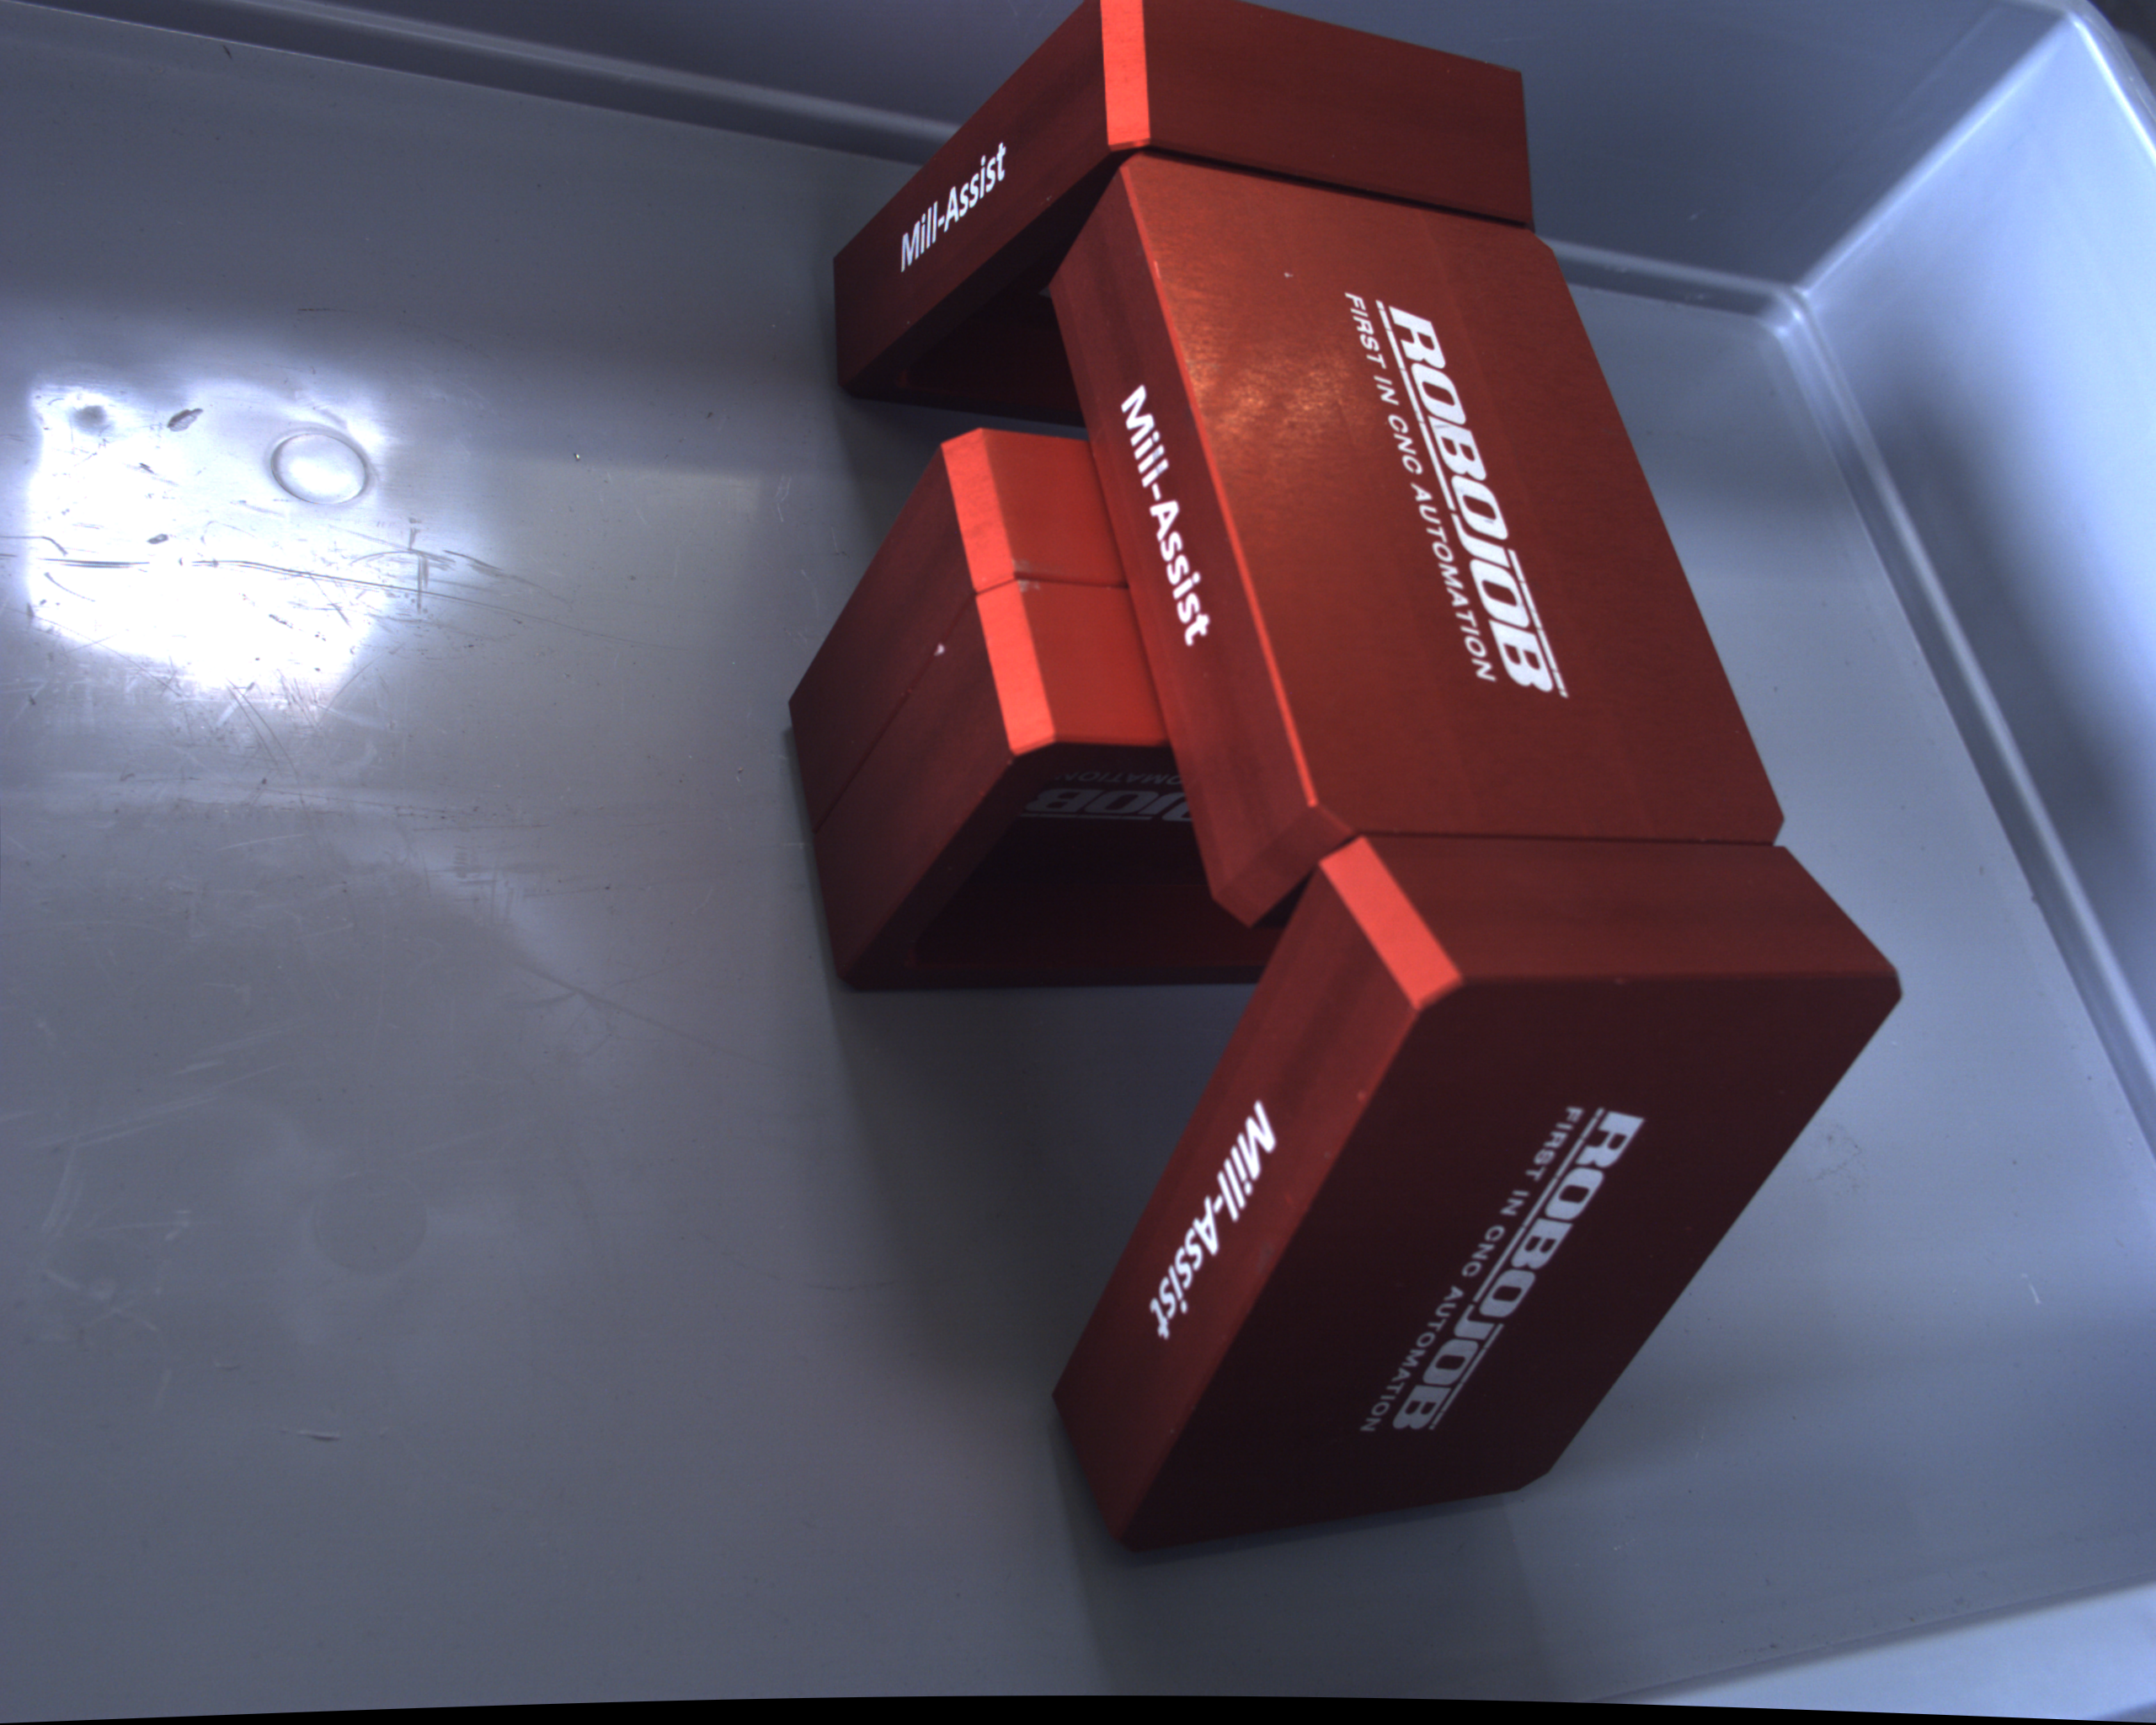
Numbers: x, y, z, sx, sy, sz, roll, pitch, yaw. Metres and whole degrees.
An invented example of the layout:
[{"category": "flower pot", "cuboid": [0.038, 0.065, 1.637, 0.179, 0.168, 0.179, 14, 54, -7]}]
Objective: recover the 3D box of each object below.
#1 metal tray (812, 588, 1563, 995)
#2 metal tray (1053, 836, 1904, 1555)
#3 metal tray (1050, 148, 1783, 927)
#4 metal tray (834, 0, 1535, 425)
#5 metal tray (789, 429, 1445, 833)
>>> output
[{"category": "metal tray", "cuboid": [0.028, -0.009, 0.383, 0.131, 0.090, 0.030, 1, 62, -28]}, {"category": "metal tray", "cuboid": [0.060, 0.055, 0.333, 0.091, 0.129, 0.030, 1, 40, -29]}, {"category": "metal tray", "cuboid": [0.054, -0.053, 0.346, 0.091, 0.030, 0.130, 1, 61, -28]}, {"category": "metal tray", "cuboid": [0.016, -0.124, 0.420, 0.091, 0.130, 0.030, 1, 82, -28]}, {"category": "metal tray", "cuboid": [0.022, -0.036, 0.396, 0.131, 0.090, 0.030, 1, 62, -28]}]
